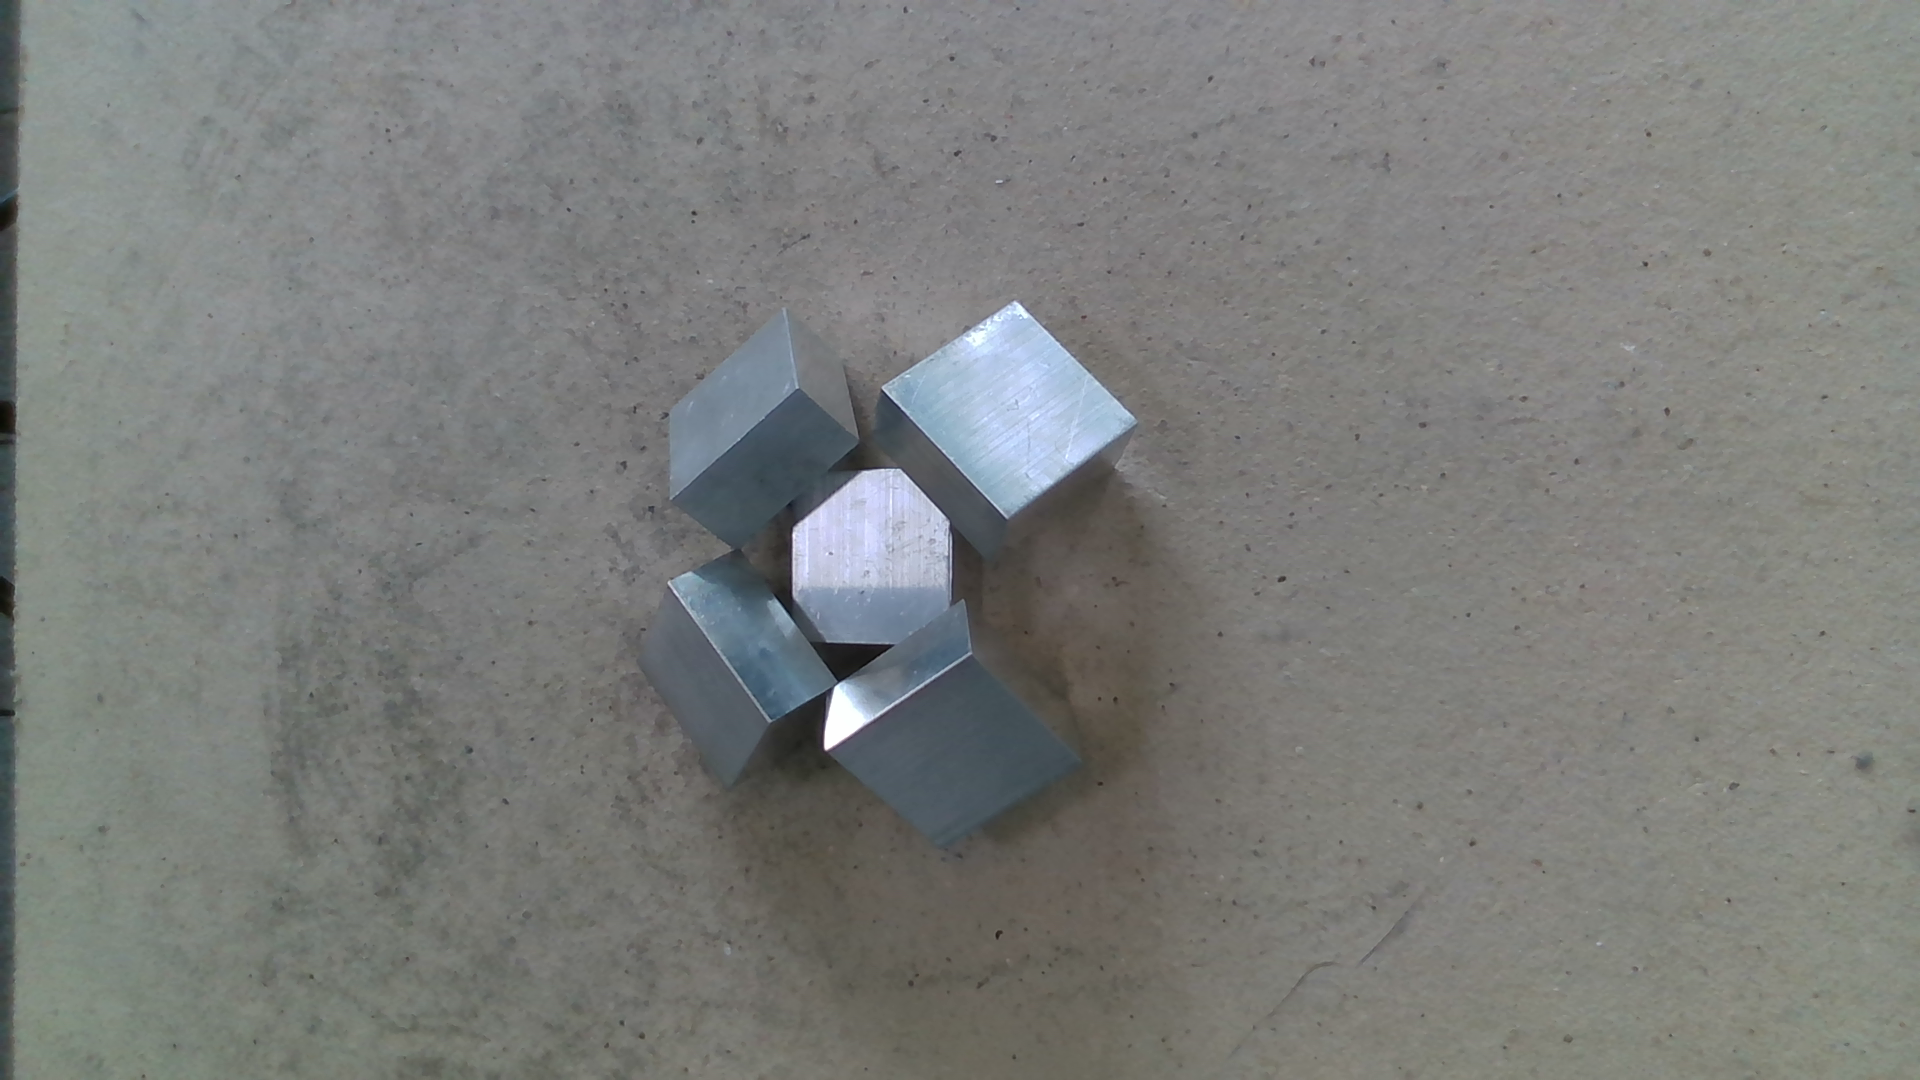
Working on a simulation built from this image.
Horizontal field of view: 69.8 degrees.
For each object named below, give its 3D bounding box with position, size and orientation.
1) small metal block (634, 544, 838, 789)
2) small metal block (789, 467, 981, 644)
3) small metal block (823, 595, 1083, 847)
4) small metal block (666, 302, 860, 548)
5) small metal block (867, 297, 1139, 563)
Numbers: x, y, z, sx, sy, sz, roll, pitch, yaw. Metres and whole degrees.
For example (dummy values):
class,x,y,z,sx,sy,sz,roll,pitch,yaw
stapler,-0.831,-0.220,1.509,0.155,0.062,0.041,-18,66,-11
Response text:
class,x,y,z,sx,sy,sz,roll,pitch,yaw
small metal block,-0.067,0.038,0.406,0.050,0.025,0.050,52,143,13
small metal block,-0.022,0.004,0.402,0.050,0.025,0.050,0,91,20
small metal block,-0.002,0.051,0.382,0.050,0.025,0.050,-35,120,18
small metal block,-0.059,-0.034,0.401,0.050,0.025,0.050,-39,34,16
small metal block,0.011,-0.031,0.376,0.050,0.025,0.050,-37,75,-26
